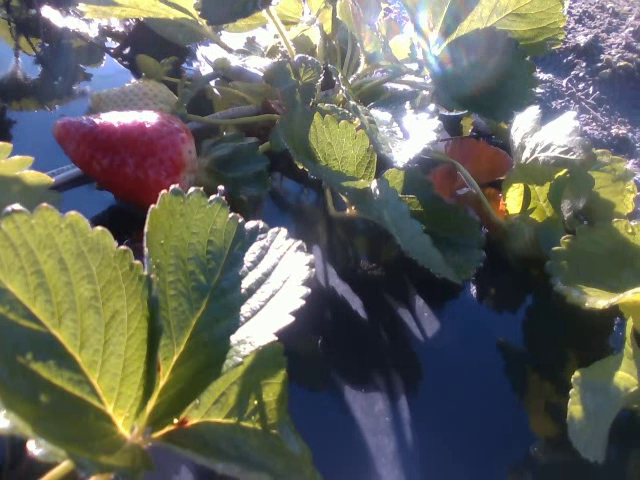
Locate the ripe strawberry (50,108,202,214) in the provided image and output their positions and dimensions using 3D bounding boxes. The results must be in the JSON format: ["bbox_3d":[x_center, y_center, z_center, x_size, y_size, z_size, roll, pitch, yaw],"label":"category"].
[{"bbox_3d":[-0.083,-0.045,0.275,0.080,0.063,0.040,17,-28,-27],"label":"ripe strawberry"}]
